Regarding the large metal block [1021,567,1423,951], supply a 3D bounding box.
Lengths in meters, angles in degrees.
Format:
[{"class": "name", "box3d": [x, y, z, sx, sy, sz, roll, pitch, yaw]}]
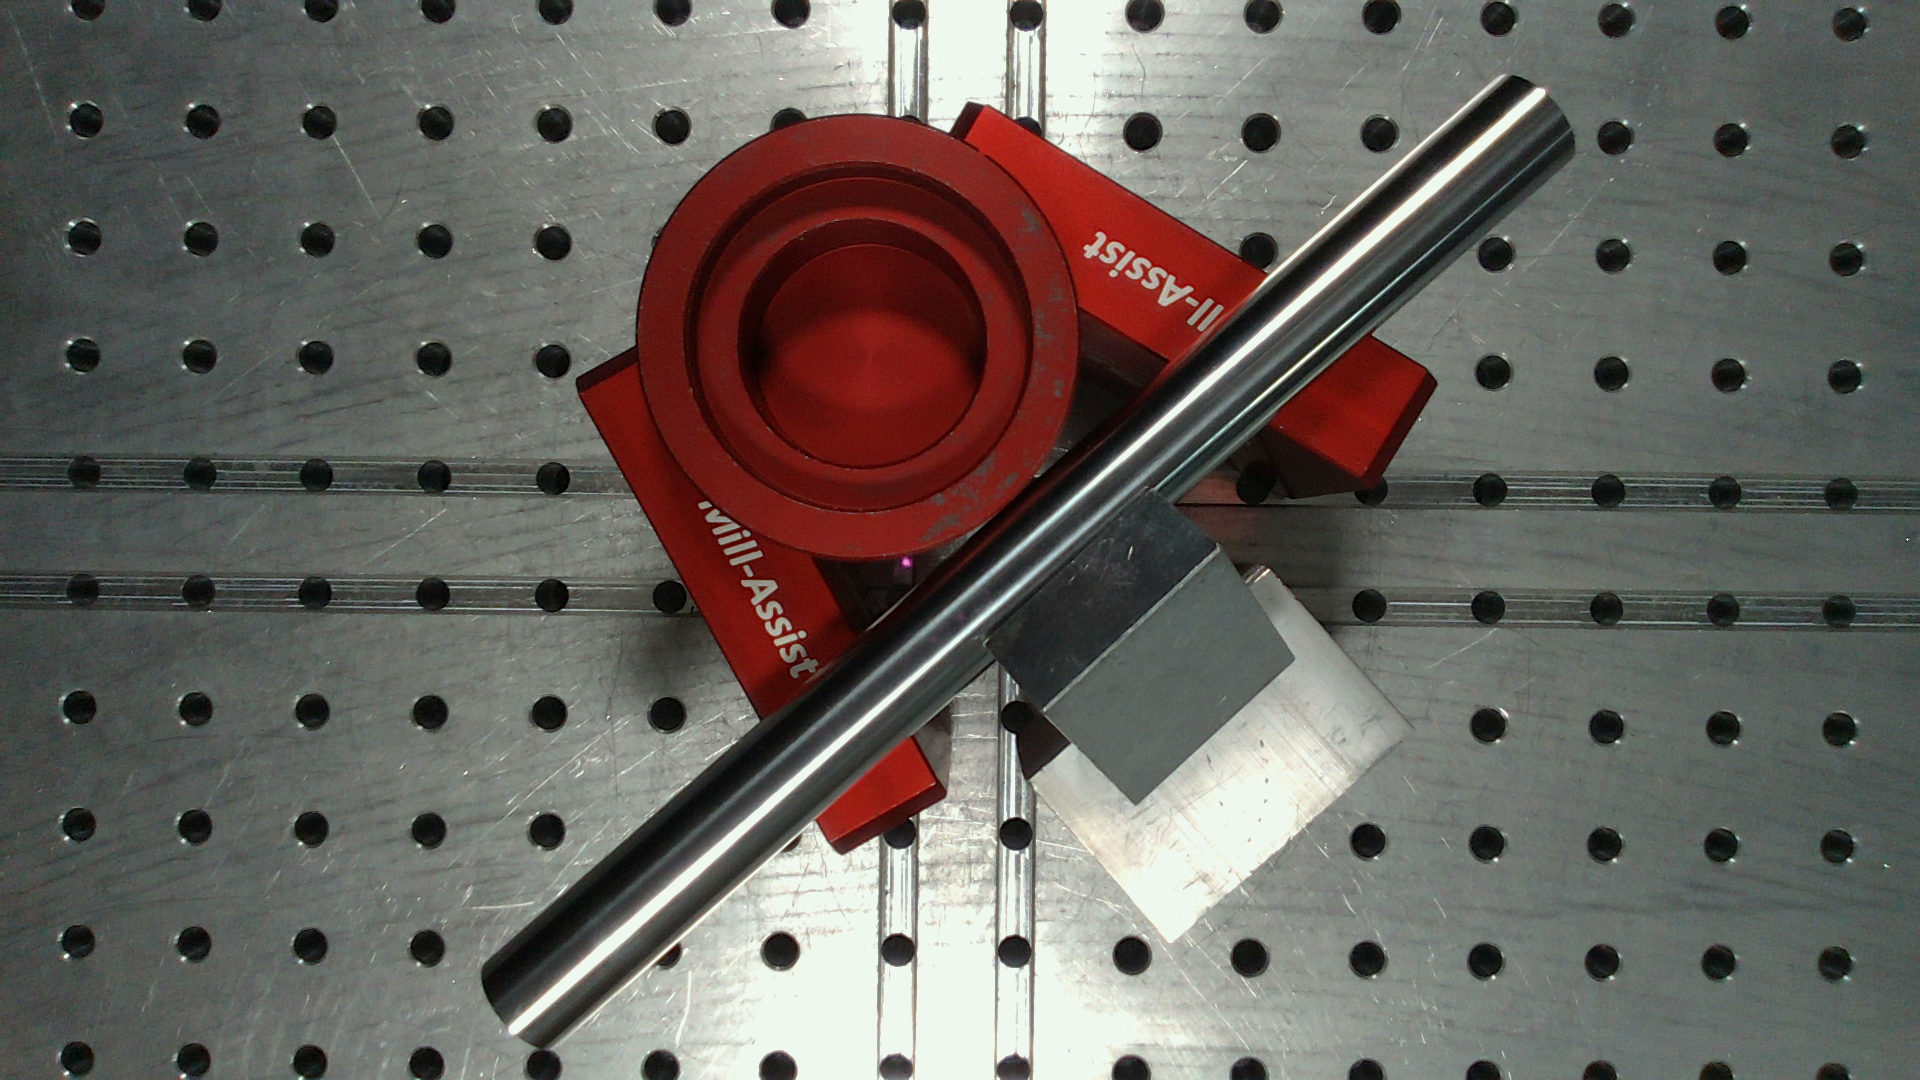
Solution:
[{"class": "large metal block", "box3d": [0.064, 0.053, 0.367, 0.080, 0.080, 0.050, -41, 90, 0]}]

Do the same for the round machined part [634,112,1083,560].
[{"class": "round machined part", "box3d": [-0.022, -0.045, 0.320, 0.098, 0.042, 0.098, 0, 90, 0]}]

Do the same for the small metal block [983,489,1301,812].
[{"class": "small metal block", "box3d": [0.041, 0.025, 0.304, 0.050, 0.050, 0.025, -43, 46, 0]}]

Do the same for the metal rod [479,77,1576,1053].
[{"class": "metal rod", "box3d": [0.015, 0.005, 0.307, 0.300, 0.025, 0.025, -41, 90, 0]}]

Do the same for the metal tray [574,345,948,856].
[{"class": "metal tray", "box3d": [-0.047, 0.011, 0.365, 0.030, 0.090, 0.130, -29, 90, 0]}]

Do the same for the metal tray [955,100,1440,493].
[{"class": "metal tray", "box3d": [0.051, -0.058, 0.364, 0.130, 0.090, 0.030, 31, 91, 0]}]
